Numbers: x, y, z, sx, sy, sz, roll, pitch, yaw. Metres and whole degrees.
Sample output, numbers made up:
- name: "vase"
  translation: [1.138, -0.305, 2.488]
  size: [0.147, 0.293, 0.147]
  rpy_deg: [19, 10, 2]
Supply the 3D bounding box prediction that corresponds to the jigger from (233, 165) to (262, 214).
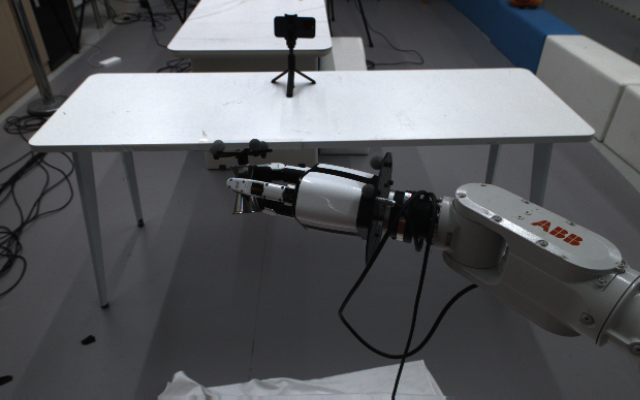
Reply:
- name: "jigger"
  translation: [-0.107, -0.016, 0.691]
  size: [0.043, 0.071, 0.043]
  rpy_deg: [-4, 1, 0]
